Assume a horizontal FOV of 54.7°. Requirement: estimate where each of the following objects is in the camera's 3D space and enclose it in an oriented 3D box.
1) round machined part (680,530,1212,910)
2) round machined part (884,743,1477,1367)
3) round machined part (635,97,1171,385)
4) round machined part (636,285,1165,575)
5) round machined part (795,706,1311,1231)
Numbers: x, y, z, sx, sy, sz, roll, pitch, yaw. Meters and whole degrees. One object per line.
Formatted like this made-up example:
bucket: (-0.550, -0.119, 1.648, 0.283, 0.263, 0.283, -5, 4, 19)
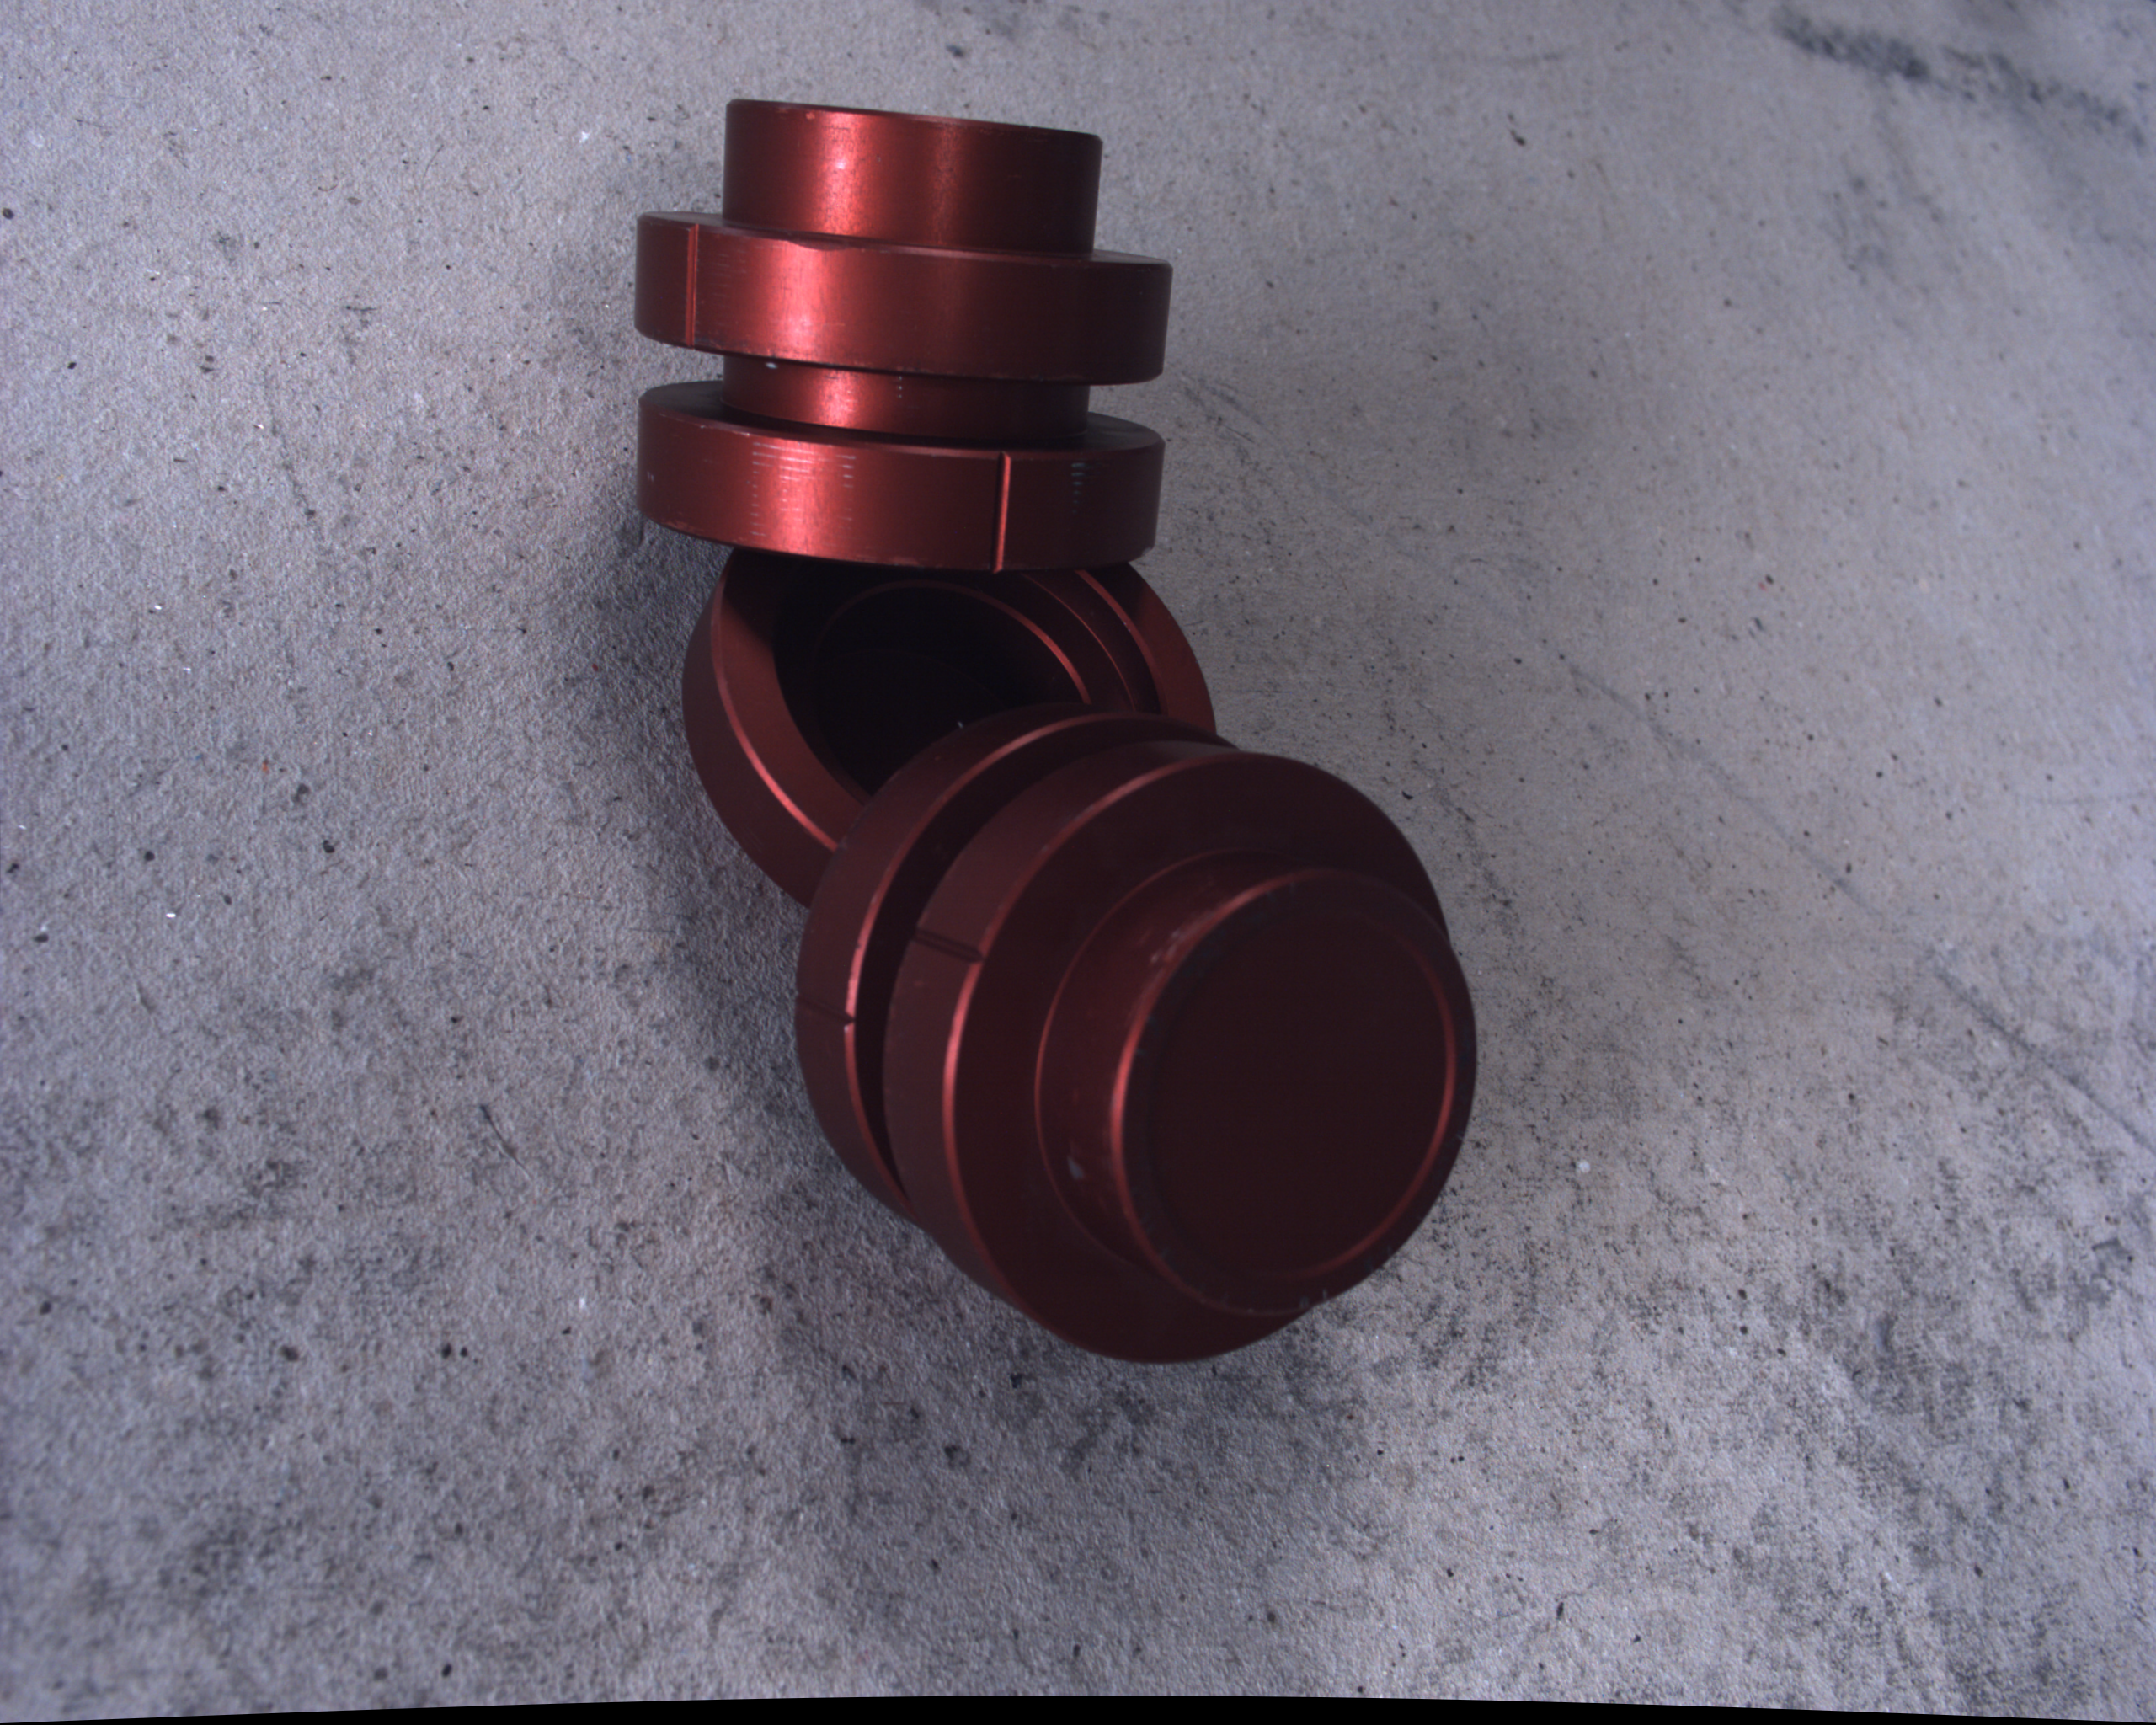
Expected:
round machined part: (-0.027, -0.024, 0.395, 0.099, 0.042, 0.098, 14, 56, -21)
round machined part: (0.023, 0.032, 0.325, 0.099, 0.042, 0.097, -6, 100, -32)
round machined part: (-0.031, -0.117, 0.387, 0.099, 0.042, 0.098, 5, 19, -1)
round machined part: (-0.032, -0.085, 0.393, 0.099, 0.042, 0.098, 5, 19, -2)
round machined part: (0.006, 0.023, 0.351, 0.099, 0.042, 0.097, -6, 102, -31)
